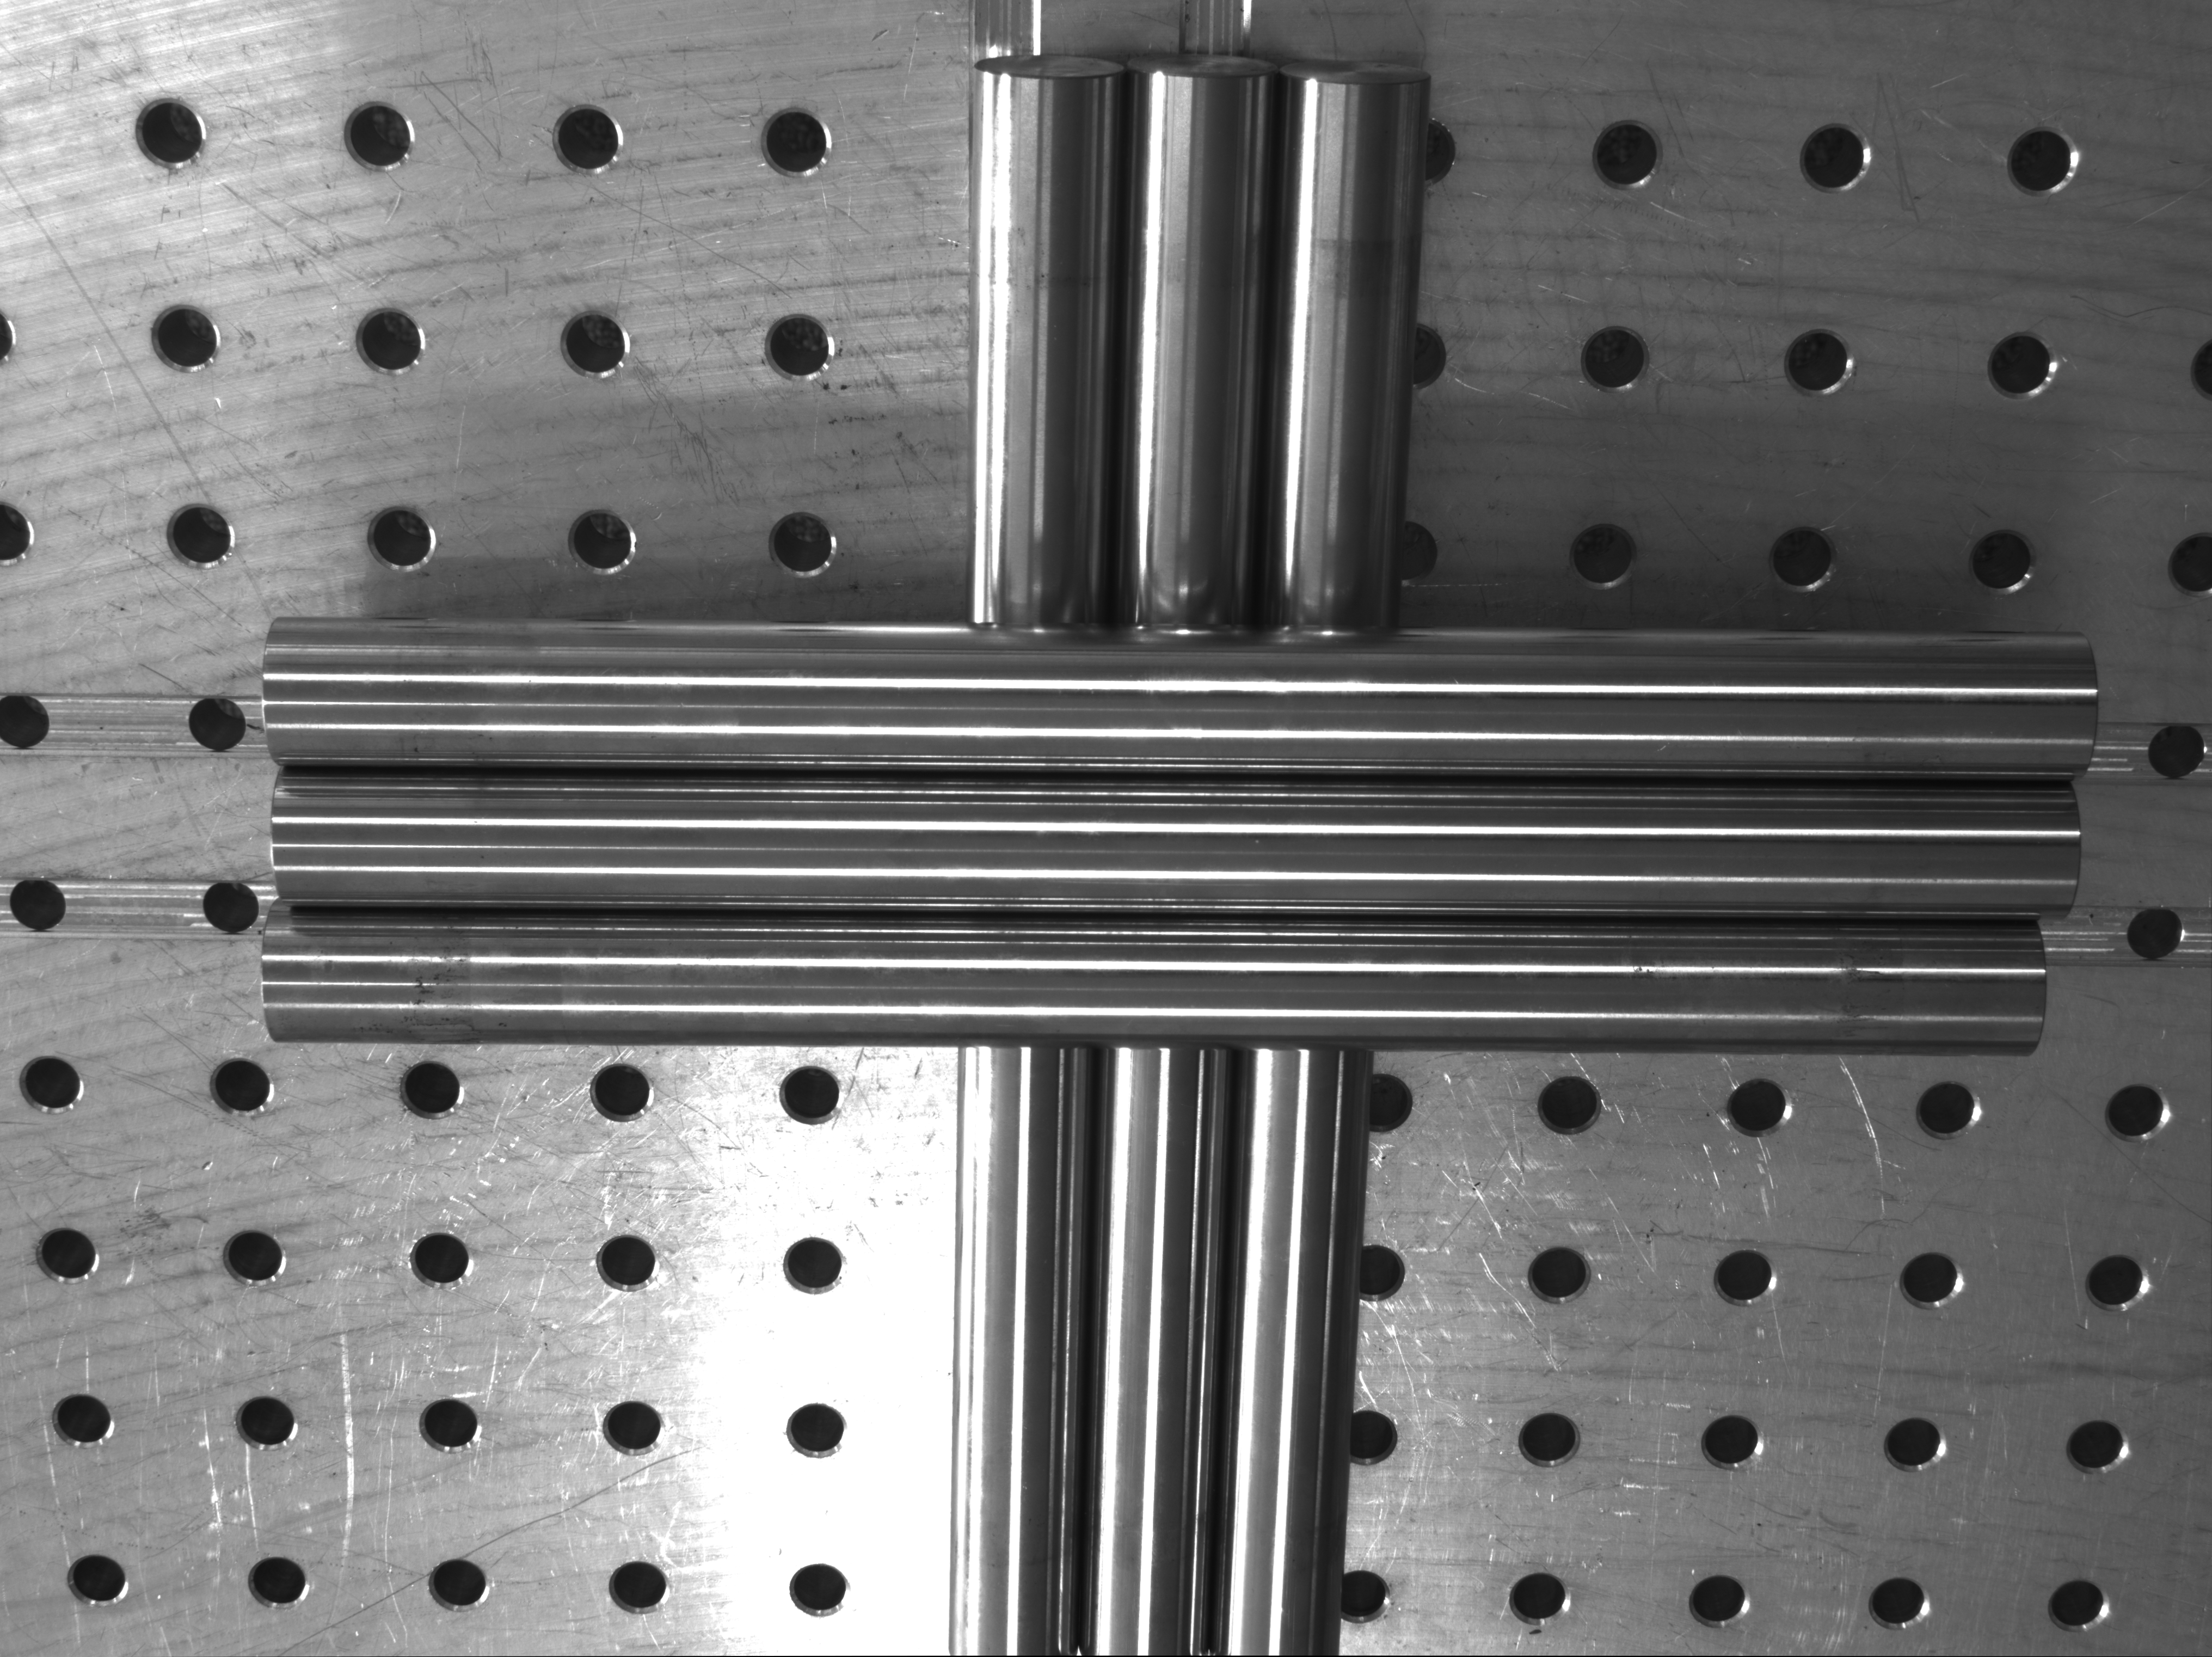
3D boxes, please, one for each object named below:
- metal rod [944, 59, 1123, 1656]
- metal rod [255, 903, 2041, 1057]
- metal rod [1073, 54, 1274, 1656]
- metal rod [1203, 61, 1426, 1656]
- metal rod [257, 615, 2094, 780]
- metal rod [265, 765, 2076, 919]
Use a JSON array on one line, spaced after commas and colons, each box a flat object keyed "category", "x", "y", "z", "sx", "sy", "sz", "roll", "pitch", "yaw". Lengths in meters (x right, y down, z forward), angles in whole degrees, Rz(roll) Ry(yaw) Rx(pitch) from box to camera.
[{"category": "metal rod", "x": -0.014, "y": 0.016, "z": 0.653, "sx": 0.025, "sy": 0.025, "sz": 0.300, "roll": 2, "pitch": 110, "yaw": 0}, {"category": "metal rod", "x": 0.007, "y": 0.025, "z": 0.629, "sx": 0.300, "sy": 0.025, "sz": 0.025, "roll": 0, "pitch": 110, "yaw": 0}, {"category": "metal rod", "x": 0.010, "y": 0.016, "z": 0.653, "sx": 0.025, "sy": 0.025, "sz": 0.300, "roll": 2, "pitch": 110, "yaw": 0}, {"category": "metal rod", "x": 0.036, "y": 0.017, "z": 0.653, "sx": 0.025, "sy": 0.025, "sz": 0.300, "roll": 2, "pitch": 110, "yaw": 0}, {"category": "metal rod", "x": 0.012, "y": -0.022, "z": 0.612, "sx": 0.300, "sy": 0.025, "sz": 0.025, "roll": 0, "pitch": 110, "yaw": 0}, {"category": "metal rod", "x": 0.011, "y": 0.002, "z": 0.621, "sx": 0.300, "sy": 0.025, "sz": 0.025, "roll": 0, "pitch": 110, "yaw": 0}]
